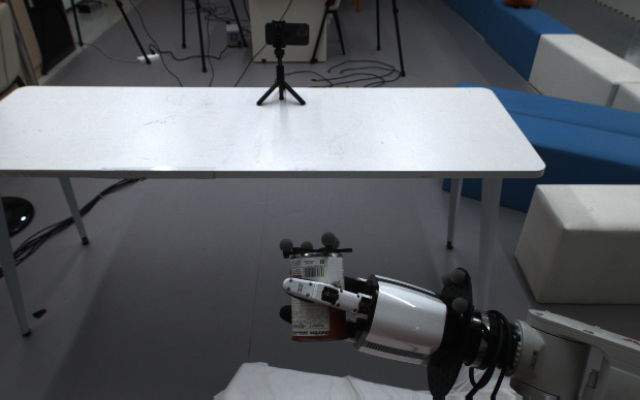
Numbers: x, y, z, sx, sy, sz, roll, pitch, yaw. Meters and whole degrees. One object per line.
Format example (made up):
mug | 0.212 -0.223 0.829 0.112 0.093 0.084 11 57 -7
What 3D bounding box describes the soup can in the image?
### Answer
soup can | 0.000 0.120 0.594 0.067 0.067 0.101 -1 77 -5
